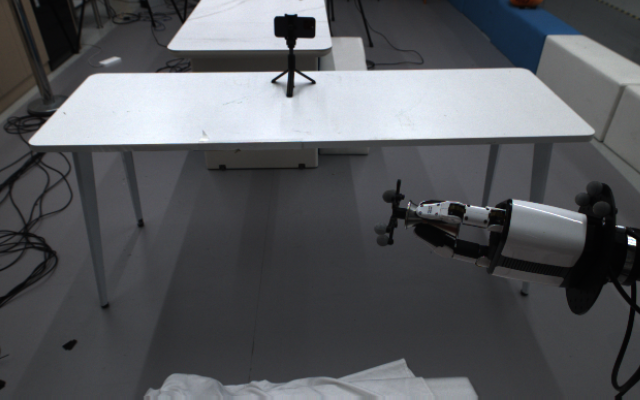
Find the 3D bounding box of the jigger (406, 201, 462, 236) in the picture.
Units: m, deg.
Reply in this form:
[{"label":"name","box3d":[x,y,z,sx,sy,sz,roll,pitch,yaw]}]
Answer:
[{"label":"jigger","box3d":[0.154,0.020,0.630,0.071,0.043,0.043,10,35,16]}]
